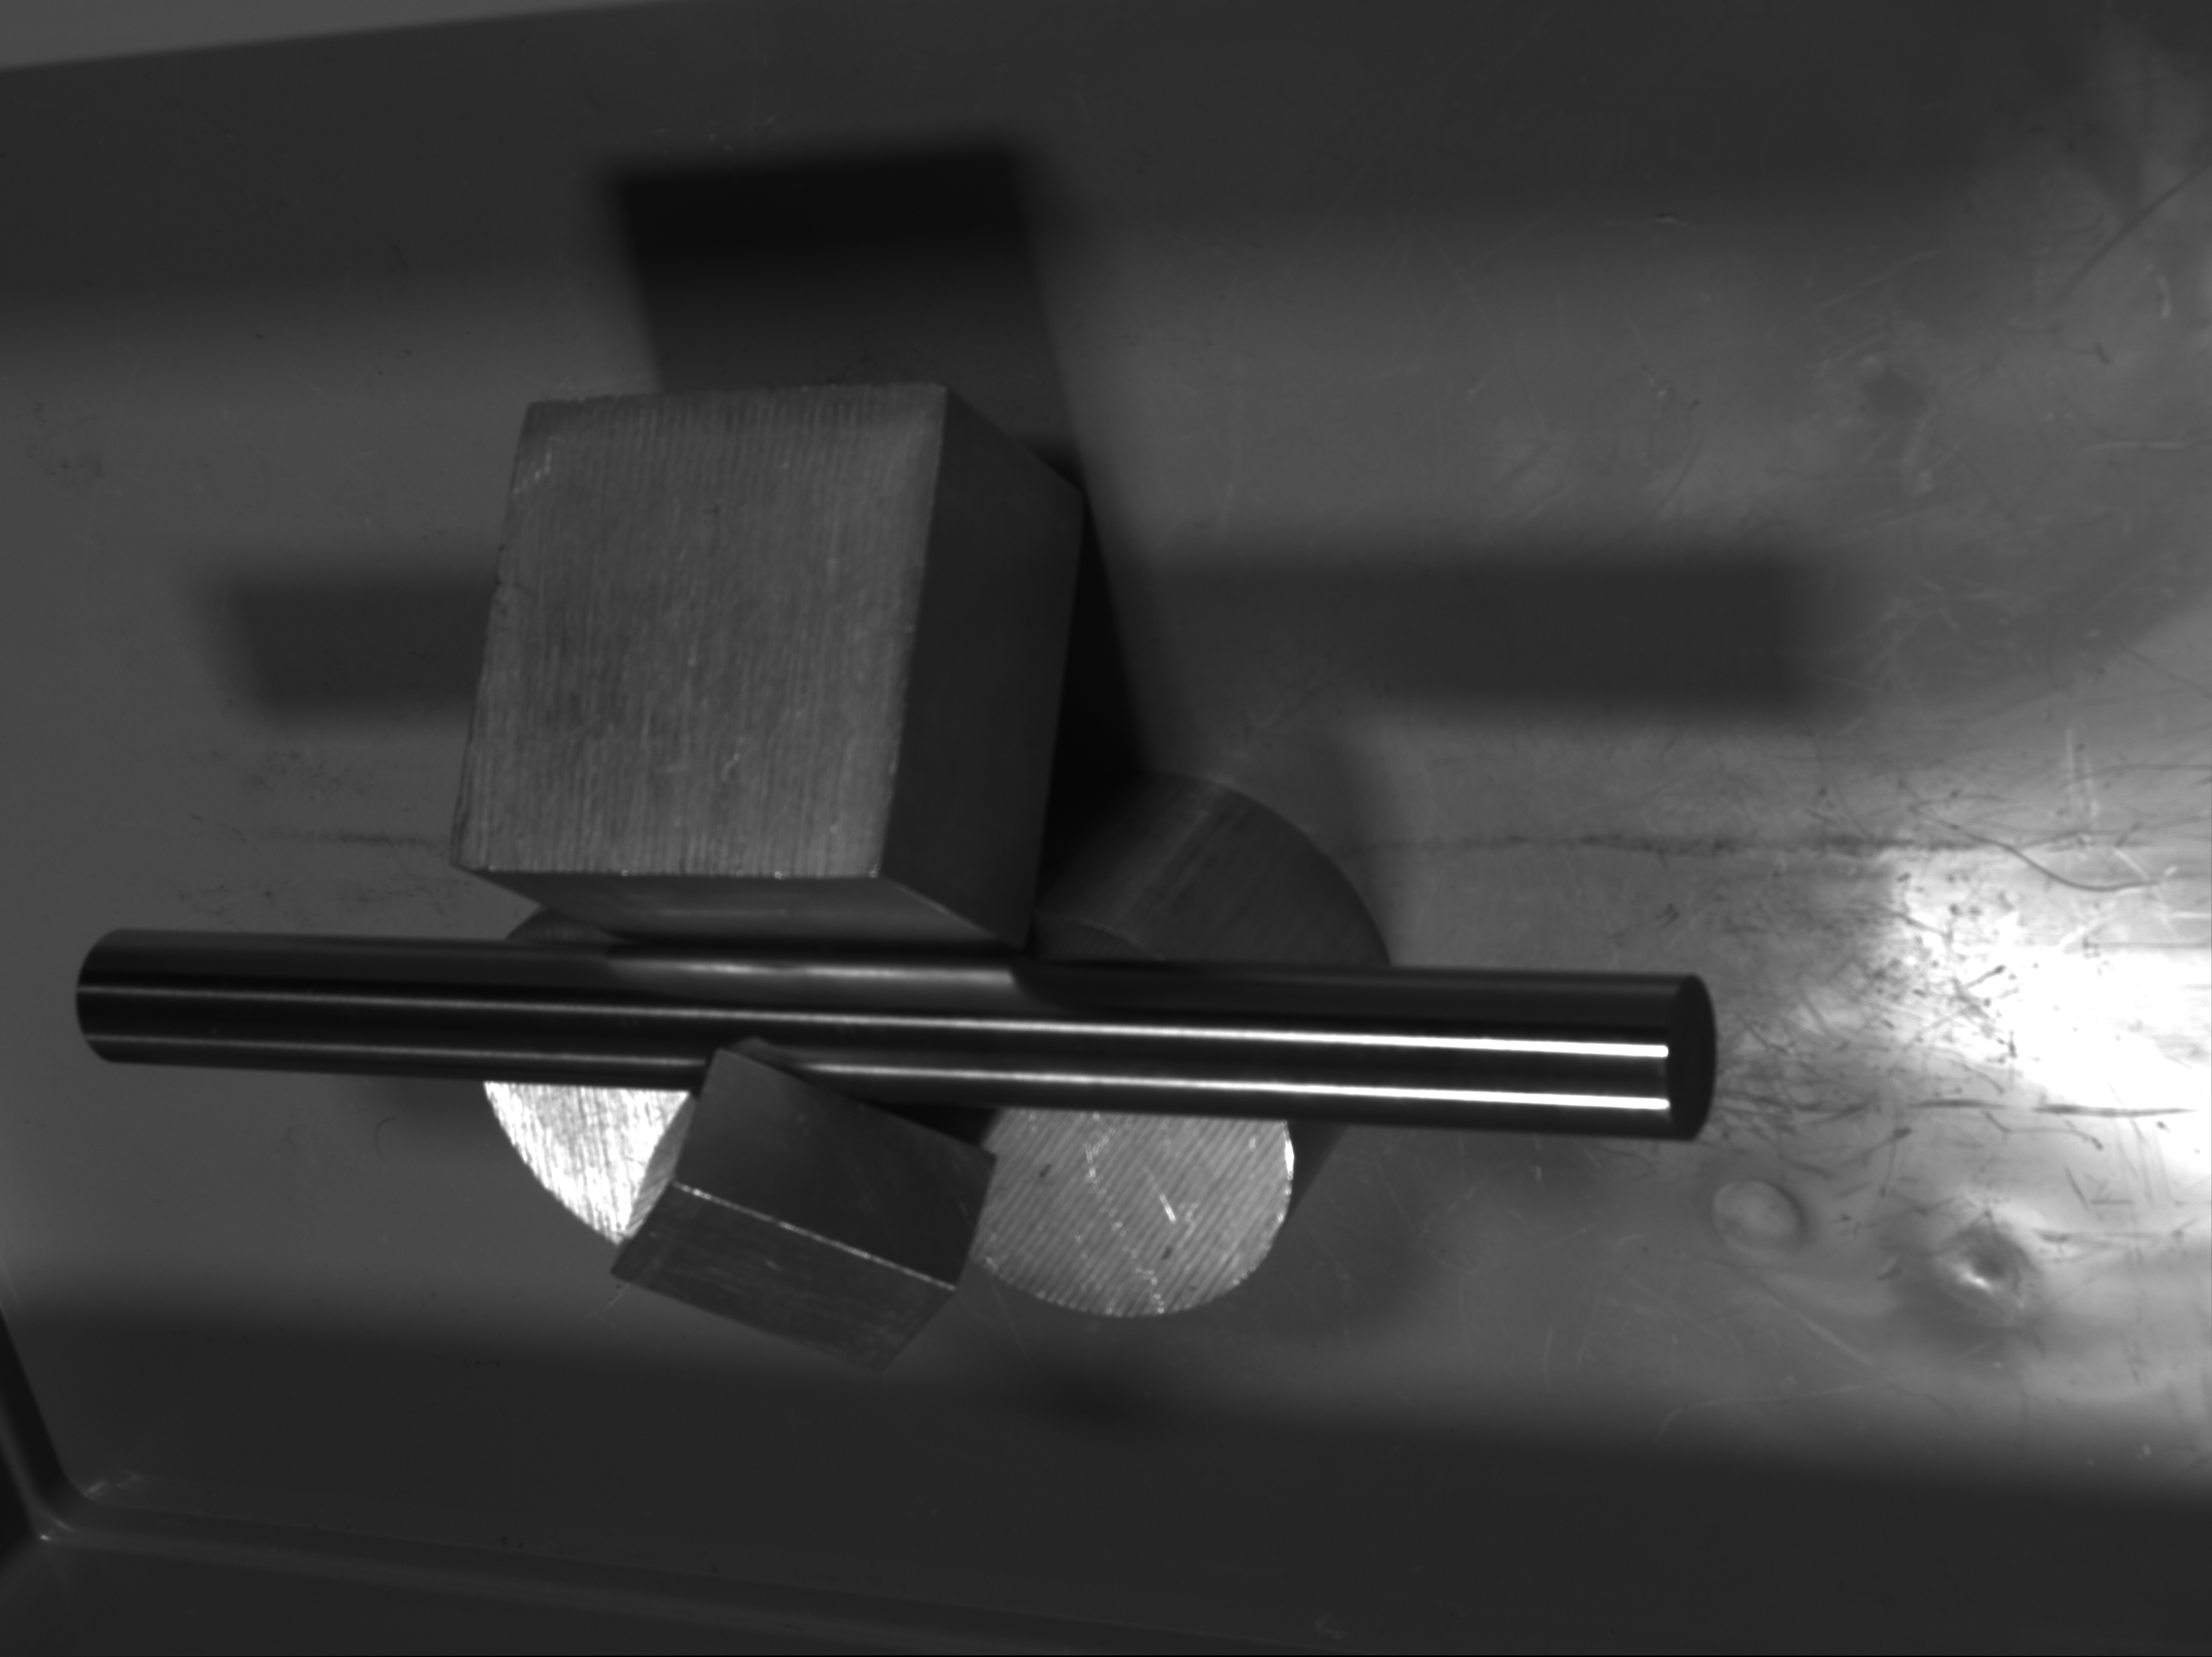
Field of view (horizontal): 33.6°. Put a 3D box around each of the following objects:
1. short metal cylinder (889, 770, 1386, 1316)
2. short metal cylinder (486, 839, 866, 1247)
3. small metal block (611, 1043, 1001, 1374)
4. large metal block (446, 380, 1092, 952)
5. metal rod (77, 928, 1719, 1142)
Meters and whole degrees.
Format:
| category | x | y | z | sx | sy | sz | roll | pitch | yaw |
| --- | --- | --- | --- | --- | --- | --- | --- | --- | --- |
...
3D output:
| category | x | y | z | sx | sy | sz | roll | pitch | yaw |
| --- | --- | --- | --- | --- | --- | --- | --- | --- | --- |
| short metal cylinder | 0.004 | 0.037 | 0.634 | 0.080 | 0.050 | 0.080 | 12 | 123 | 20 |
| short metal cylinder | -0.068 | 0.036 | 0.670 | 0.080 | 0.050 | 0.080 | 12 | 123 | 20 |
| small metal block | -0.051 | 0.065 | 0.617 | 0.050 | 0.025 | 0.050 | 22 | 150 | -9 |
| large metal block | -0.054 | -0.025 | 0.600 | 0.080 | 0.050 | 0.080 | 1 | 75 | 26 |
| metal rod | -0.047 | 0.032 | 0.609 | 0.299 | 0.025 | 0.025 | 1 | 119 | 26 |
